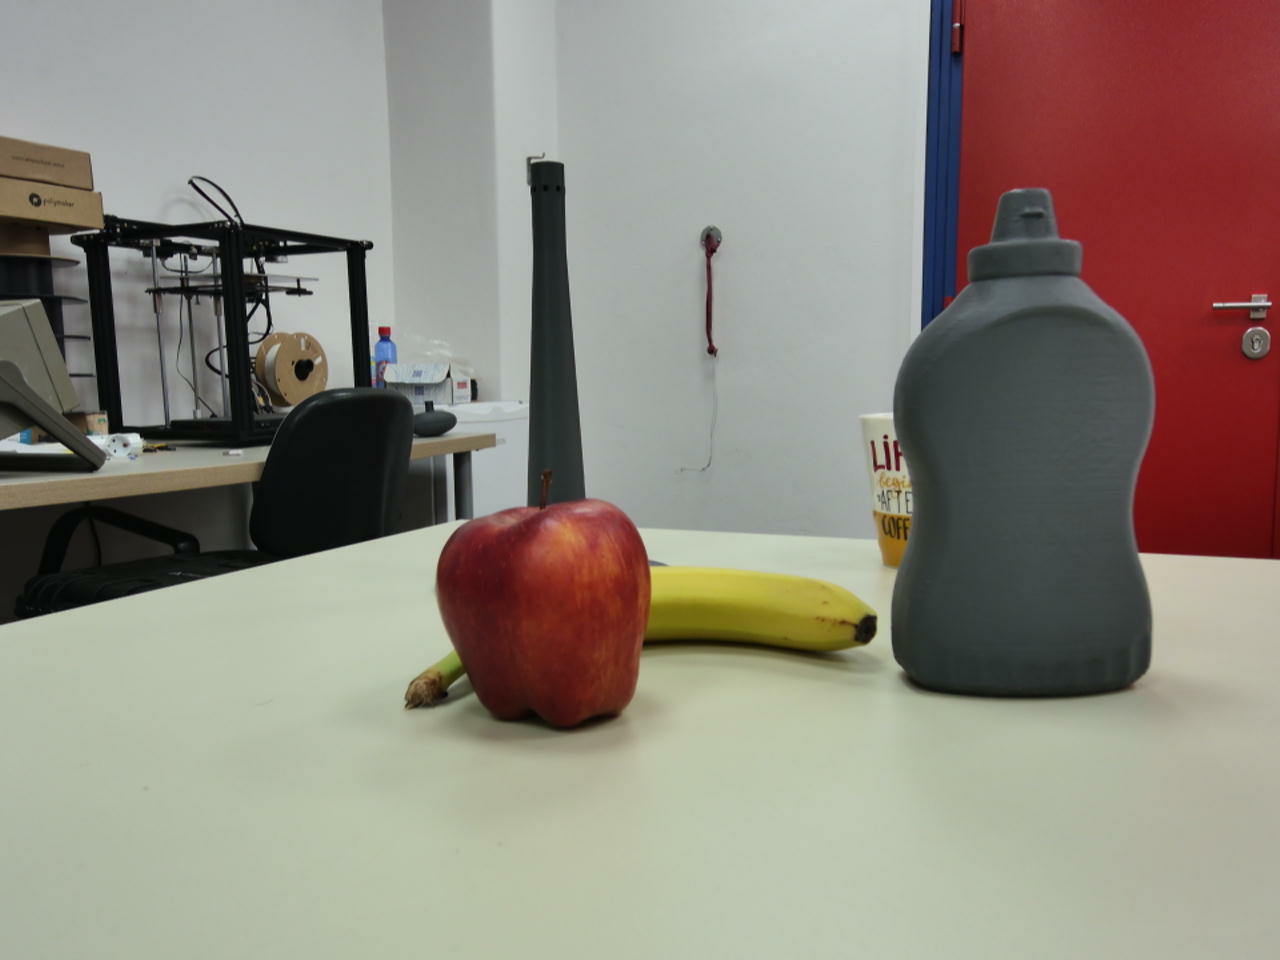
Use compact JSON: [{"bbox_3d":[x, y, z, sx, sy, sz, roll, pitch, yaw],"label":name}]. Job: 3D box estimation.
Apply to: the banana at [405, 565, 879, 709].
[{"bbox_3d":[-0.002,0.062,0.443,0.196,0.041,0.094,-1,4,-11],"label":"banana"}]
